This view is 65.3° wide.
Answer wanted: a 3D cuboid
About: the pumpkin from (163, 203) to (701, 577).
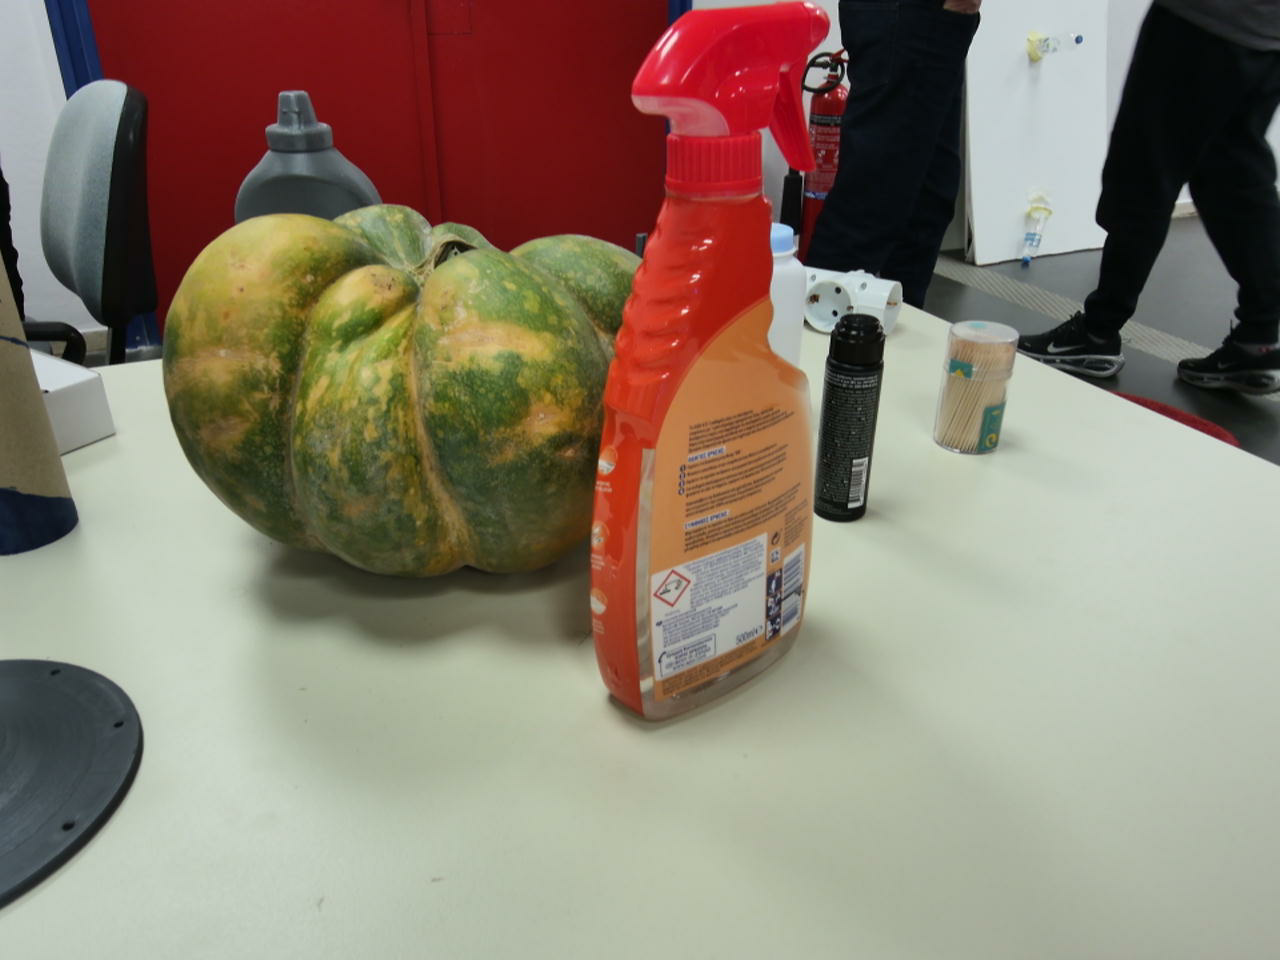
[{"bbox_3d":[-0.102,-0.055,0.507,0.270,0.173,0.237,5,26,11],"label":"pumpkin"}]
